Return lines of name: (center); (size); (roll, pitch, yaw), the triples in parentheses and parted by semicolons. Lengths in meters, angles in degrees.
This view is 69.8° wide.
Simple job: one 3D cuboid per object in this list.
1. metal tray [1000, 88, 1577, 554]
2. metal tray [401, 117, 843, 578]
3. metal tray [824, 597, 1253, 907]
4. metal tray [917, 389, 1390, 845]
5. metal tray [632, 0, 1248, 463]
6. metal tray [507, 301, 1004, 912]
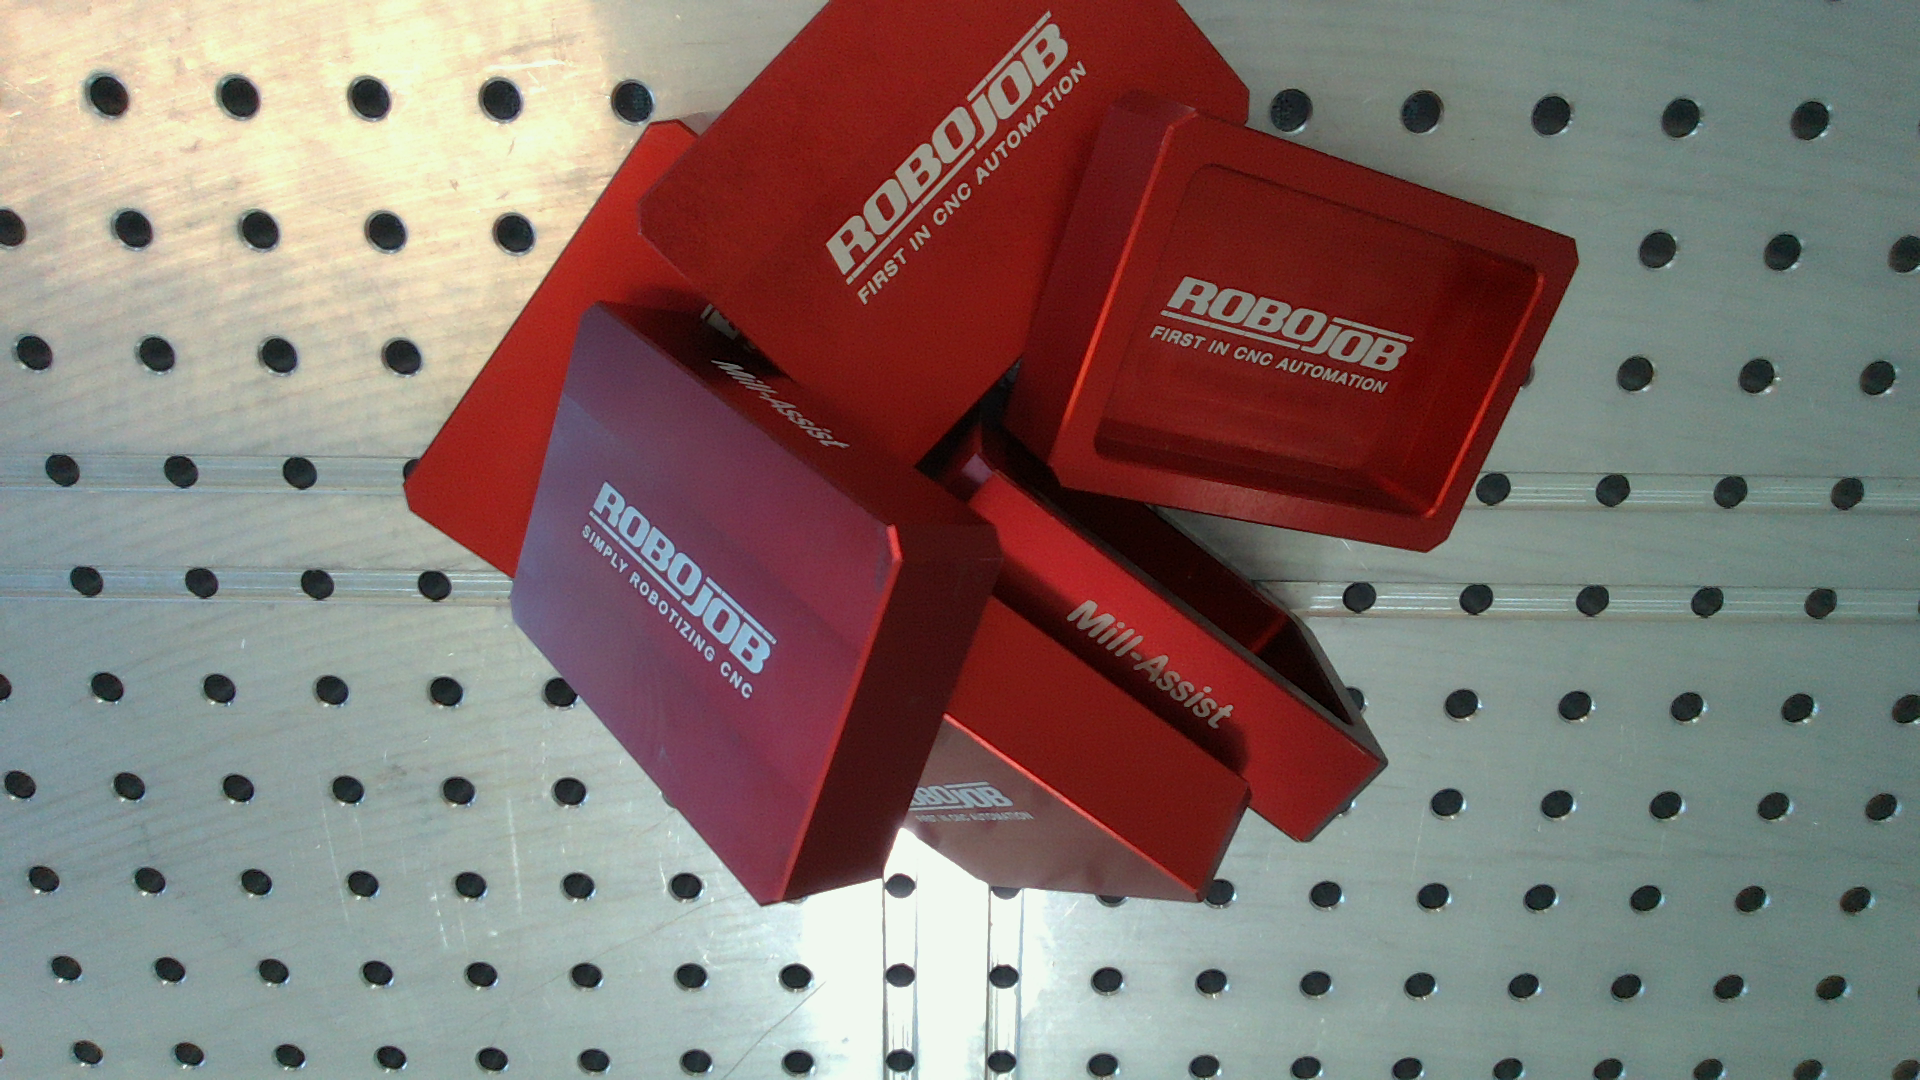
metal tray: (0.085, -0.050, 0.350); (0.130, 0.030, 0.090); (9, 112, -27)
metal tray: (-0.079, -0.038, 0.379); (0.090, 0.030, 0.130); (36, 106, -13)
metal tray: (0.005, 0.058, 0.367); (0.090, 0.130, 0.030); (37, 67, -12)
metal tray: (0.046, 0.015, 0.367); (0.130, 0.090, 0.030); (37, 106, -13)
metal tray: (-0.005, -0.093, 0.339); (0.130, 0.030, 0.090); (-46, 108, 0)
metal tray: (-0.055, 0.010, 0.319); (0.030, 0.130, 0.090); (0, 118, -45)
